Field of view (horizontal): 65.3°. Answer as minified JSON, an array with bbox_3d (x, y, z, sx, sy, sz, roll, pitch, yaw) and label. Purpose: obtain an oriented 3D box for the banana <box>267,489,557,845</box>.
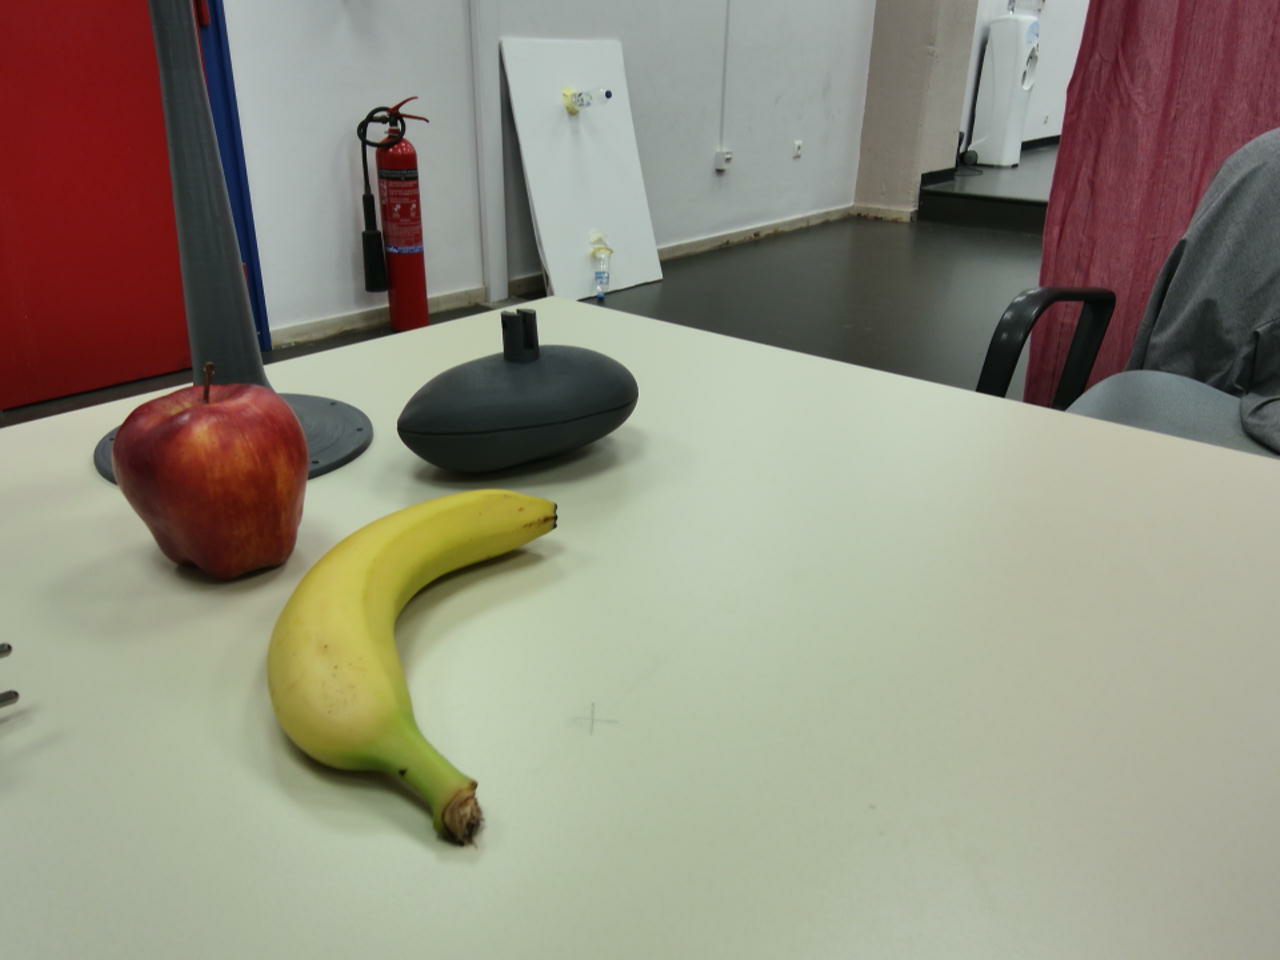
[{"bbox_3d":[-0.089,0.052,0.382,0.094,0.041,0.196,2,22,2],"label":"banana"}]
